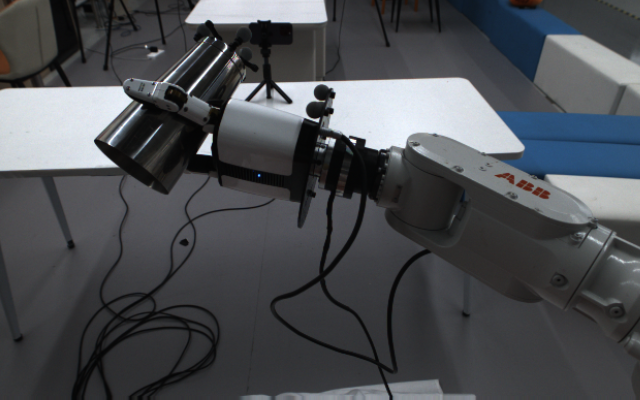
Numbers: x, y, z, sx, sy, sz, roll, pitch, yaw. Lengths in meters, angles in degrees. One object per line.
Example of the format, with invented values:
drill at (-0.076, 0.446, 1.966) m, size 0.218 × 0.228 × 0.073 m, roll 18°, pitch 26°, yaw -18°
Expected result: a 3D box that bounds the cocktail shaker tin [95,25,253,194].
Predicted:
cocktail shaker tin at (-0.158, -0.105, 0.544) m, size 0.093 × 0.093 × 0.170 m, roll 22°, pitch 67°, yaw 26°
